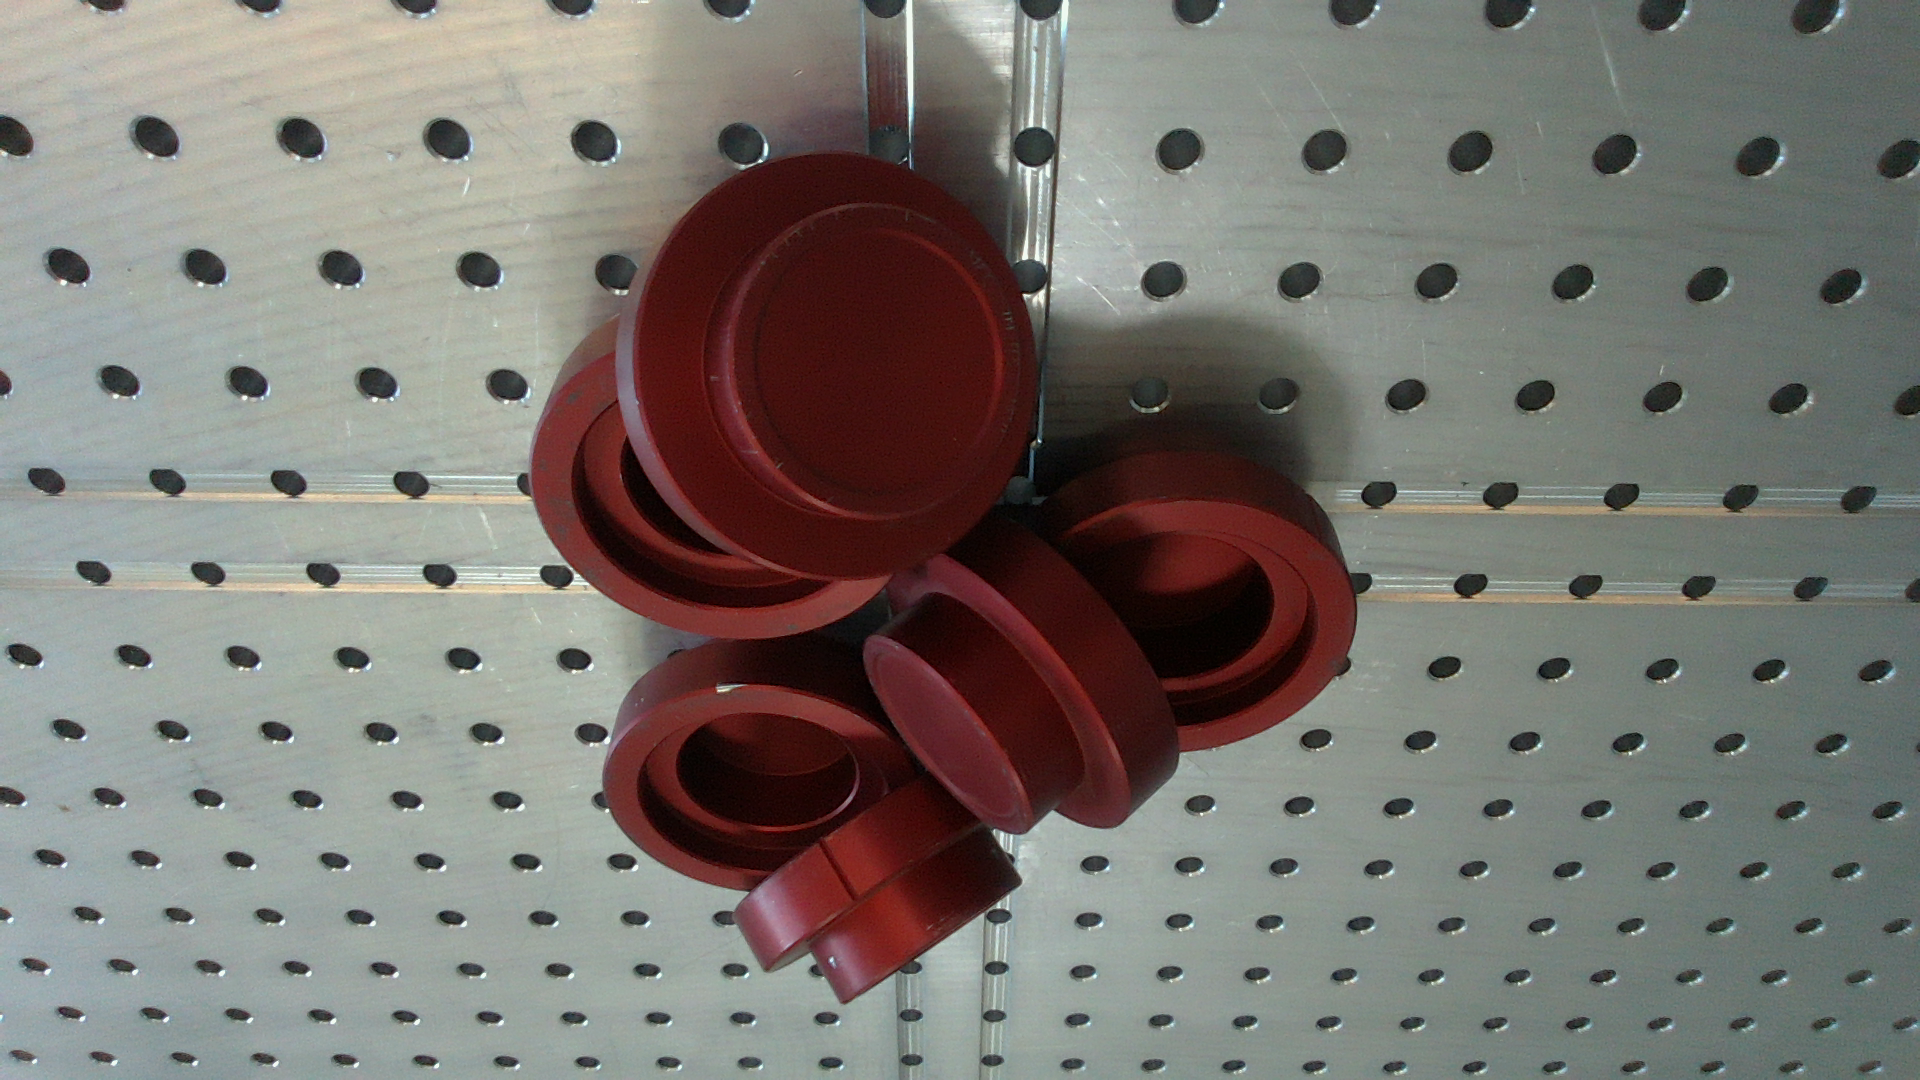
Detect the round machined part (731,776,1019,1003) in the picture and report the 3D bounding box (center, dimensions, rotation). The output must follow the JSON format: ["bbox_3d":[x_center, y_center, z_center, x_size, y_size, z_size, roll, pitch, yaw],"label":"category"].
[{"bbox_3d":[-0.020,0.110,0.438,0.098,0.042,0.098,-32,166,-9],"label":"round machined part"}]

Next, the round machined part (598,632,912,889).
[{"bbox_3d":[-0.061,0.066,0.437,0.098,0.042,0.098,0,130,0],"label":"round machined part"}]

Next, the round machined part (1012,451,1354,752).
[{"bbox_3d":[0.059,0.013,0.393,0.098,0.042,0.098,0,130,0],"label":"round machined part"}]

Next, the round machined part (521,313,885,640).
[{"bbox_3d":[-0.061,-0.023,0.362,0.098,0.042,0.098,0,130,0],"label":"round machined part"}]

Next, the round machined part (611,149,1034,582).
[{"bbox_3d":[-0.026,-0.039,0.313,0.098,0.042,0.098,-1,93,-25],"label":"round machined part"}]

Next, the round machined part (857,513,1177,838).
[{"bbox_3d":[0.009,0.042,0.379,0.042,0.098,0.098,-38,133,-23],"label":"round machined part"}]
